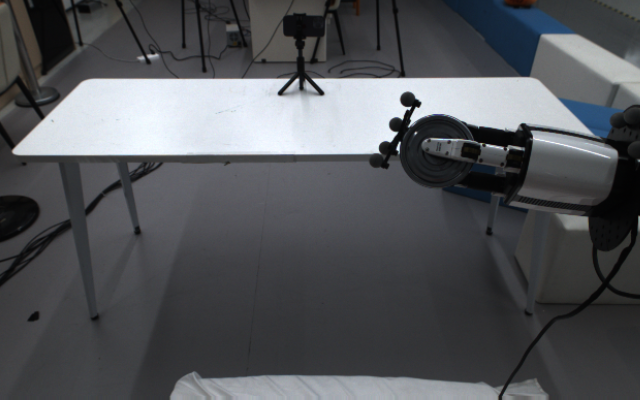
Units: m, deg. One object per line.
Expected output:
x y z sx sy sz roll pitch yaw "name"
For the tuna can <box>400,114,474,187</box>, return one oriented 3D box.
0.138 -0.059 0.566 0.085 0.085 0.034 8 4 8 "tuna can"
